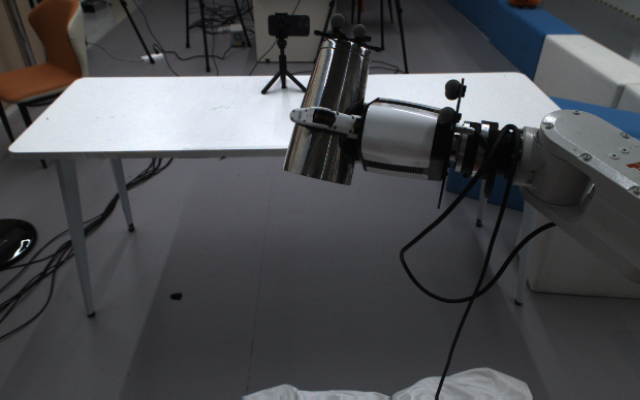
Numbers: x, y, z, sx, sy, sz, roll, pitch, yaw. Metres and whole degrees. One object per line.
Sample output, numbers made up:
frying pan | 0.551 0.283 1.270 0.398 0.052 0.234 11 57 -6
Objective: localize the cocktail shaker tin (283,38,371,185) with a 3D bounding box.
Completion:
cocktail shaker tin | 0.015 -0.113 0.623 0.093 0.170 0.093 13 4 -1
